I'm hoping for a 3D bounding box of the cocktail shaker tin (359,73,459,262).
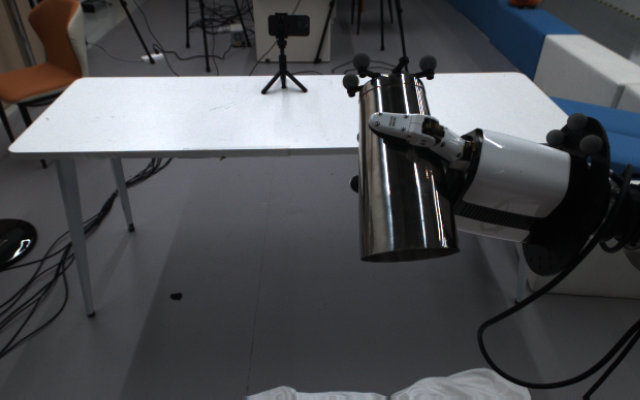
[{"bbox_3d":[0.080,-0.029,0.471,0.093,0.093,0.170,-3,76,-8],"label":"cocktail shaker tin"}]
